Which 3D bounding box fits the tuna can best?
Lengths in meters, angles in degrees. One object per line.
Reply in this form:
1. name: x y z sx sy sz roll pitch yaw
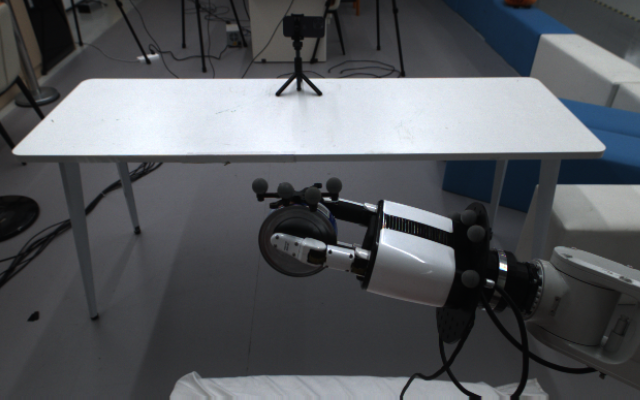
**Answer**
1. tuna can: -0.020 0.045 0.534 0.085 0.085 0.034 4 18 3
